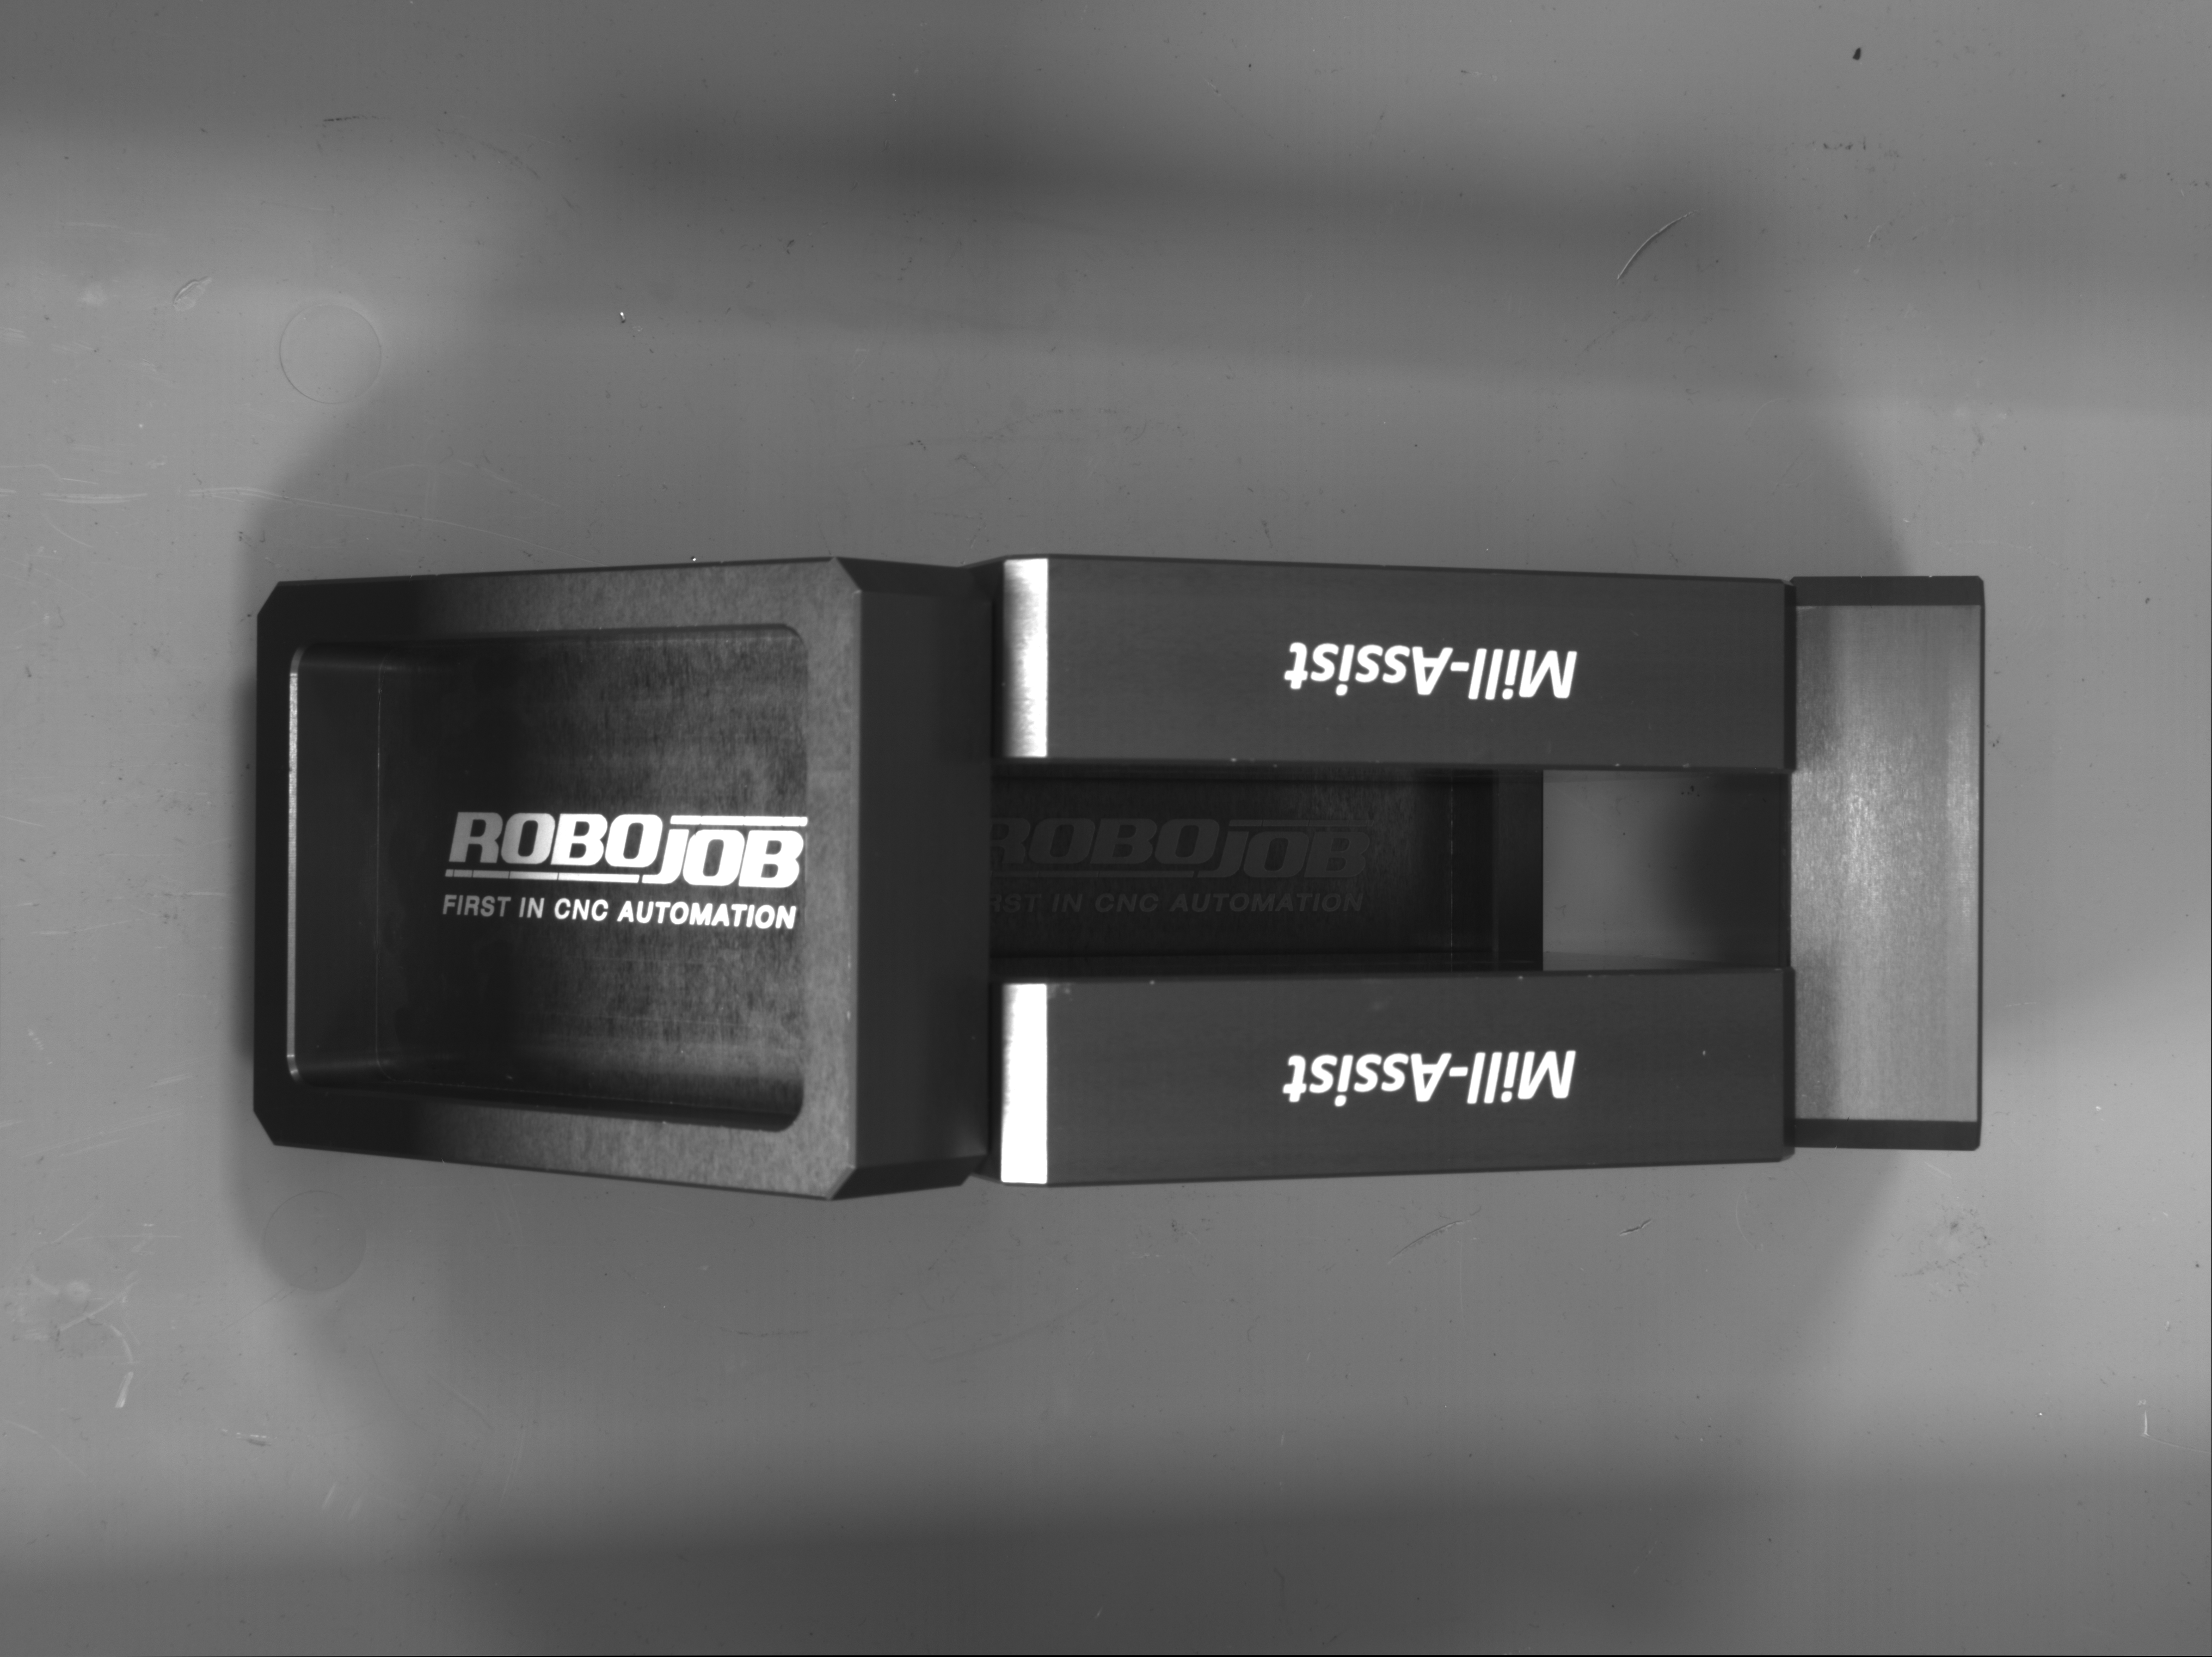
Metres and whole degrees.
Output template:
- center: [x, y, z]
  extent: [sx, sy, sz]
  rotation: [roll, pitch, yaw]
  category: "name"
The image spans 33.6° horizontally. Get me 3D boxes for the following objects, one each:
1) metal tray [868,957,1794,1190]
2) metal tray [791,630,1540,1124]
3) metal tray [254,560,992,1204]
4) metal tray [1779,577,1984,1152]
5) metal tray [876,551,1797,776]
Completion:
- center: [0.032, 0.037, 0.587]
  extent: [0.130, 0.090, 0.030]
  rotation: [0, 90, -20]
  category: "metal tray"
- center: [0.012, 0.007, 0.643]
  extent: [0.130, 0.030, 0.090]
  rotation: [0, 90, -21]
  category: "metal tray"
- center: [-0.077, 0.007, 0.560]
  extent: [0.030, 0.129, 0.090]
  rotation: [0, 91, -52]
  category: "metal tray"
- center: [0.132, 0.006, 0.635]
  extent: [0.030, 0.130, 0.090]
  rotation: [0, 90, 10]
  category: "metal tray"
- center: [0.033, -0.024, 0.587]
  extent: [0.130, 0.090, 0.030]
  rotation: [0, 89, -20]
  category: "metal tray"
